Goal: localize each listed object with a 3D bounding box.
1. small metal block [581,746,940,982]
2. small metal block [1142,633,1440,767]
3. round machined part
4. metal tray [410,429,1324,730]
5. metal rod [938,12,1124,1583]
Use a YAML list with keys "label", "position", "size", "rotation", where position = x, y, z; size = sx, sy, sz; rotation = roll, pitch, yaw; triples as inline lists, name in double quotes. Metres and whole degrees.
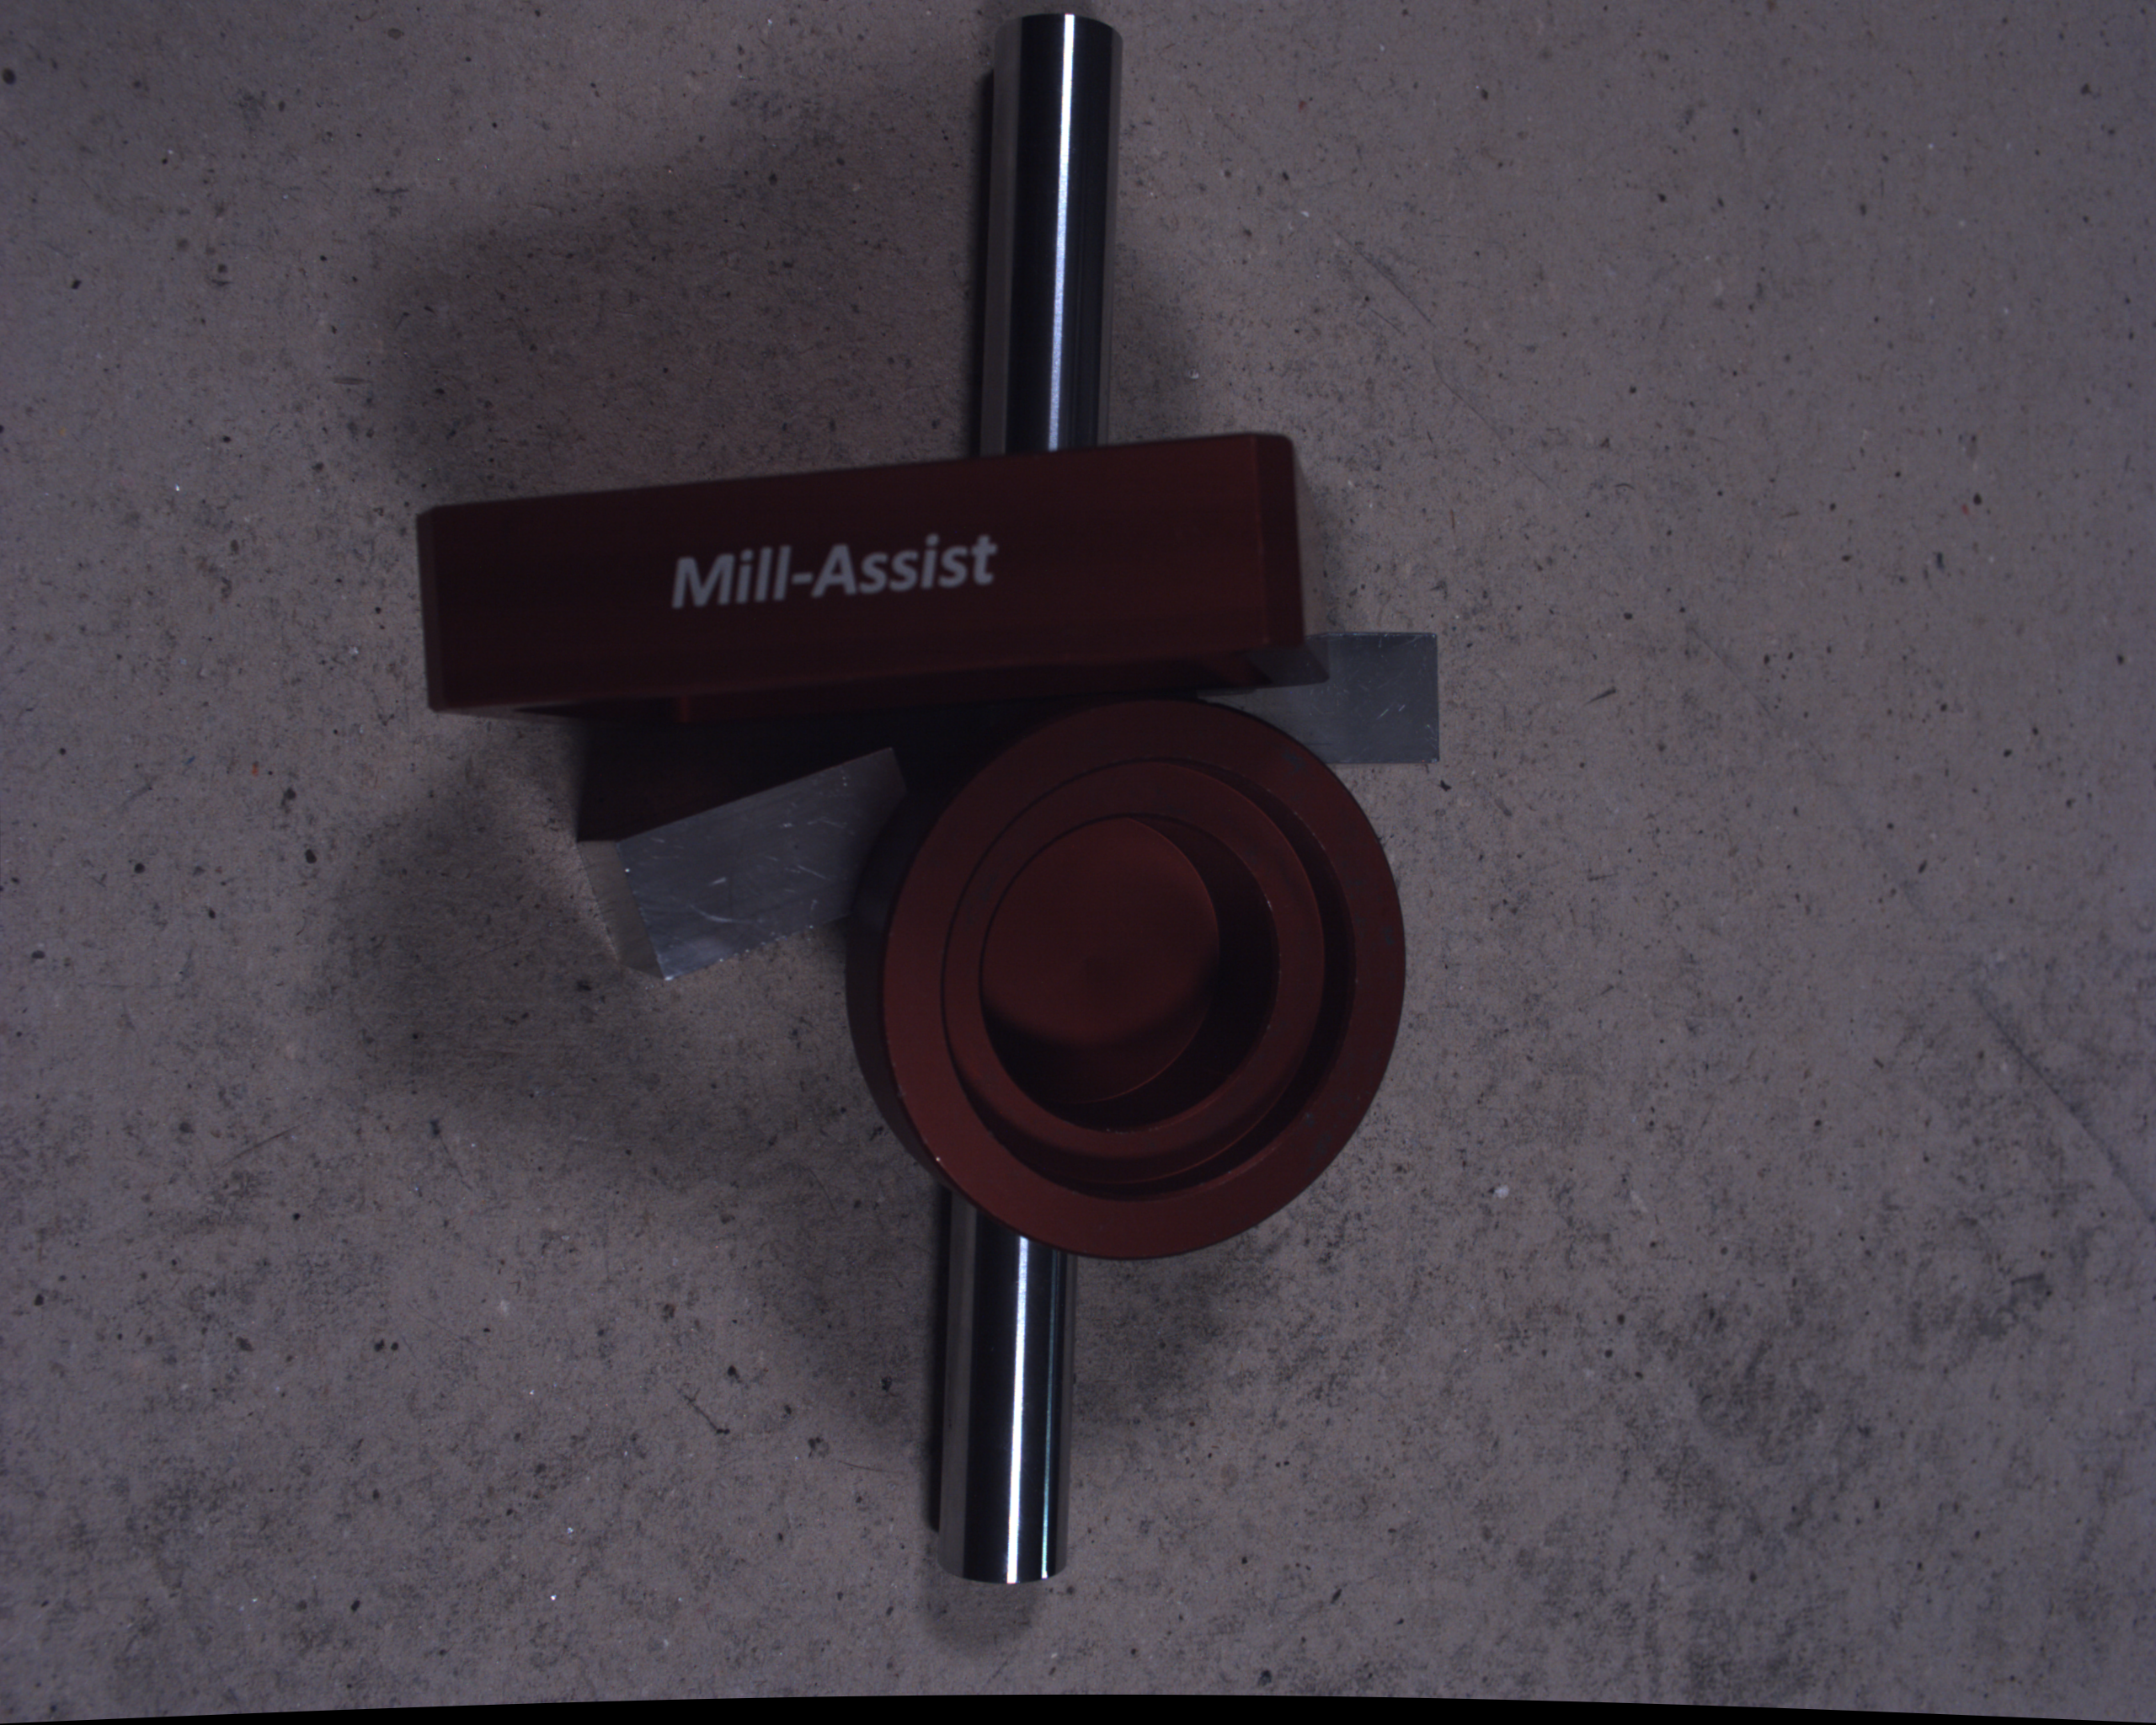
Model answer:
- label: "small metal block"
  position: [-0.059, 0.000, 0.376]
  size: [0.050, 0.050, 0.025]
  rotation: [-20, 97, -19]
- label: "small metal block"
  position: [0.036, -0.030, 0.411]
  size: [0.050, 0.050, 0.025]
  rotation: [-2, 91, -20]
- label: "round machined part"
  position: [0.006, 0.019, 0.375]
  size: [0.099, 0.042, 0.097]
  rotation: [-2, 94, -22]
- label: "metal tray"
  position: [-0.028, -0.042, 0.341]
  size: [0.131, 0.090, 0.030]
  rotation: [-4, 90, 9]
- label: "metal rod"
  position: [-0.009, -0.013, 0.408]
  size: [0.025, 0.025, 0.298]
  rotation: [2, 89, -20]
